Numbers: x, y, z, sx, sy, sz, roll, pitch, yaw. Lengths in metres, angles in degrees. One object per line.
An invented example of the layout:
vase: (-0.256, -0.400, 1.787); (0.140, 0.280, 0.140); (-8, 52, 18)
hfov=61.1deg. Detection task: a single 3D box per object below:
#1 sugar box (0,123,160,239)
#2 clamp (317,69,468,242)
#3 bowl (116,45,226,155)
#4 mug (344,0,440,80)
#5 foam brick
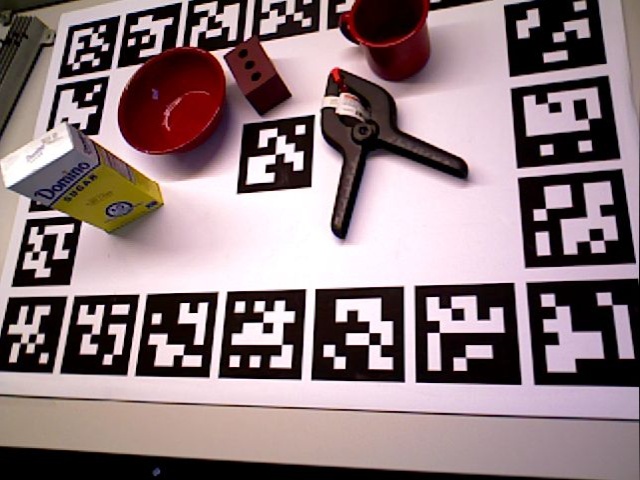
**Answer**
sugar box: (-0.280, -0.063, 0.655); (0.093, 0.177, 0.045); (-27, 68, 6)
clamp: (0.053, -0.118, 0.630); (0.166, 0.036, 0.201); (-27, 69, 11)
bowl: (-0.189, -0.176, 0.724); (0.162, 0.055, 0.160); (-5, 72, 16)
mug: (0.083, -0.248, 0.639); (0.117, 0.082, 0.093); (24, 81, 19)
foam brick: (-0.074, -0.206, 0.703); (0.053, 0.051, 0.077); (-30, 68, 8)
